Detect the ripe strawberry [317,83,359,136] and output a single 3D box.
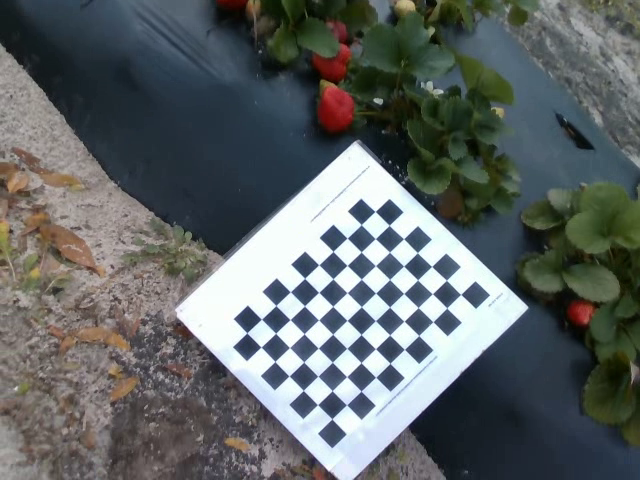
[{"bbox_3d":[0.013,-0.173,0.789,0.057,0.056,0.064,3,-7,17],"label":"ripe strawberry"}]
